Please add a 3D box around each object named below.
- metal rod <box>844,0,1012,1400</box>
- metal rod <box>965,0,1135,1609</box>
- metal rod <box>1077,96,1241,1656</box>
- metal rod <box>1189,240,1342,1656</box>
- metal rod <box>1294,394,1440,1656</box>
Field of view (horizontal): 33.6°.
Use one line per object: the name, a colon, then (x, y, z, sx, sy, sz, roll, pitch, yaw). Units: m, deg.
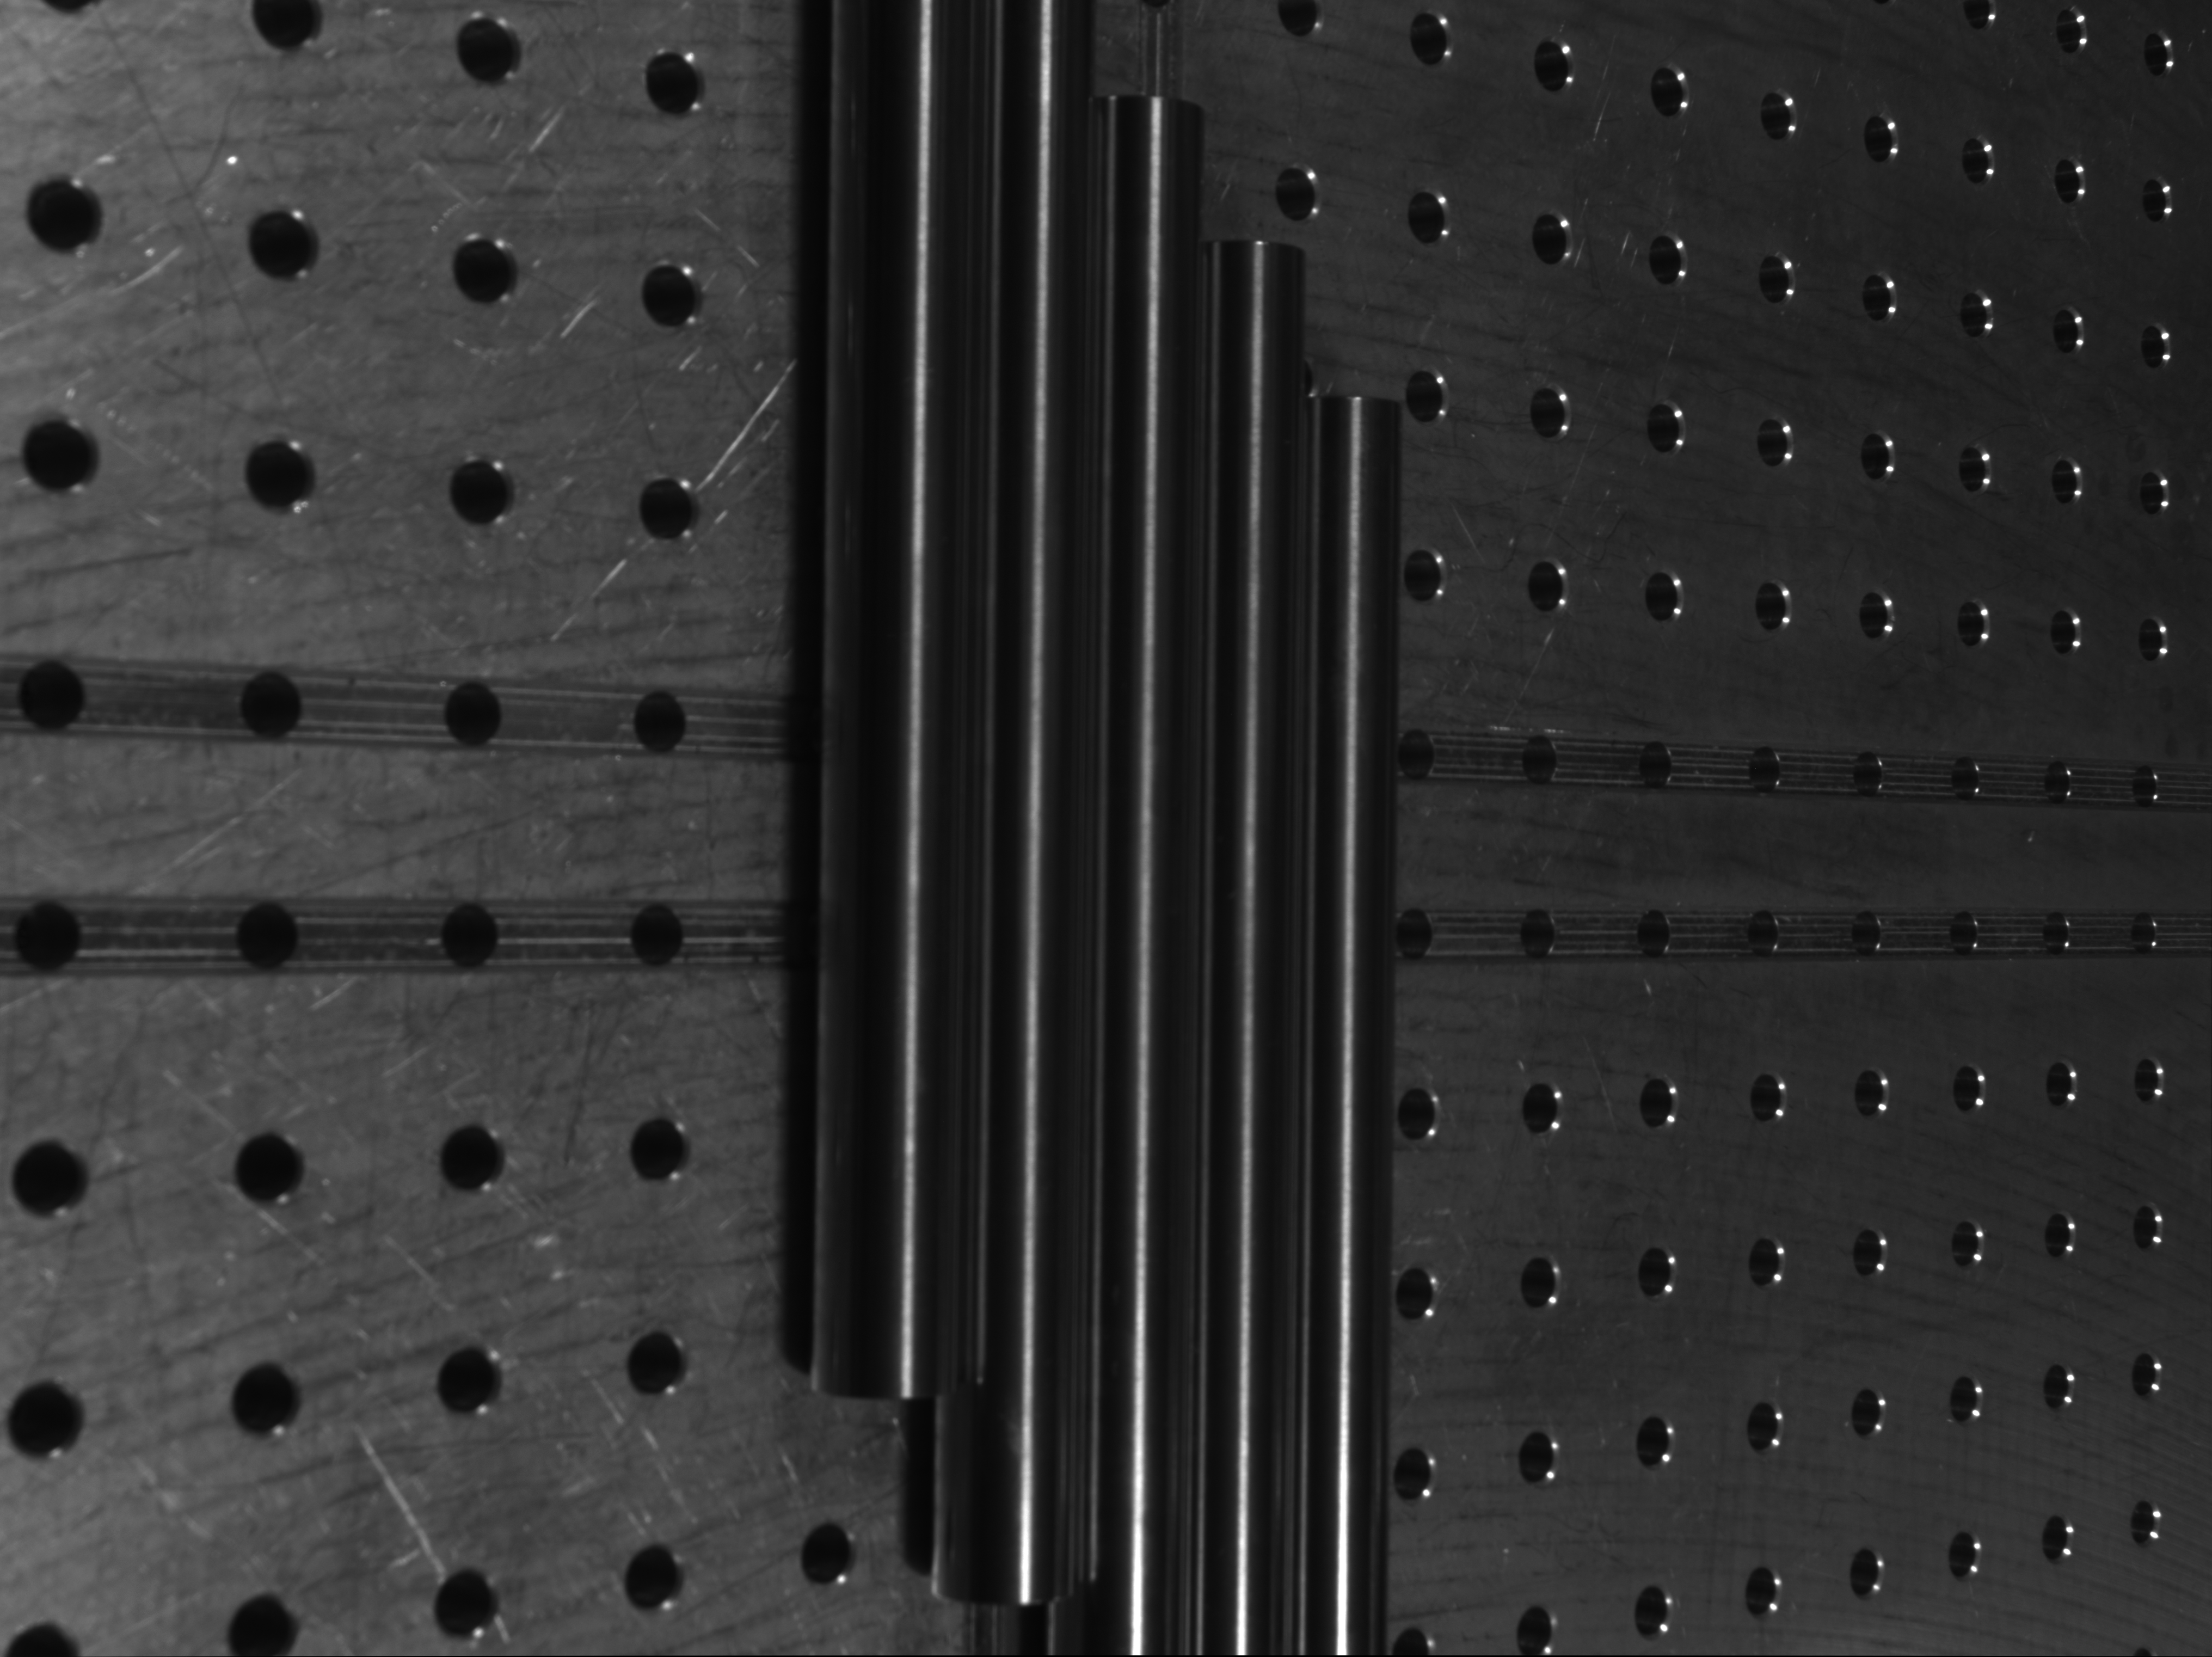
metal rod: (-0.029, -0.056, 0.616, 0.025, 0.025, 0.300, 1, 89, -40)
metal rod: (-0.009, -0.018, 0.631, 0.025, 0.025, 0.300, 2, 89, -40)
metal rod: (0.009, 0.023, 0.647, 0.025, 0.025, 0.300, 2, 89, -40)
metal rod: (0.028, 0.045, 0.663, 0.025, 0.025, 0.300, 2, 89, -40)
metal rod: (0.047, 0.071, 0.679, 0.025, 0.025, 0.300, 2, 89, -40)
